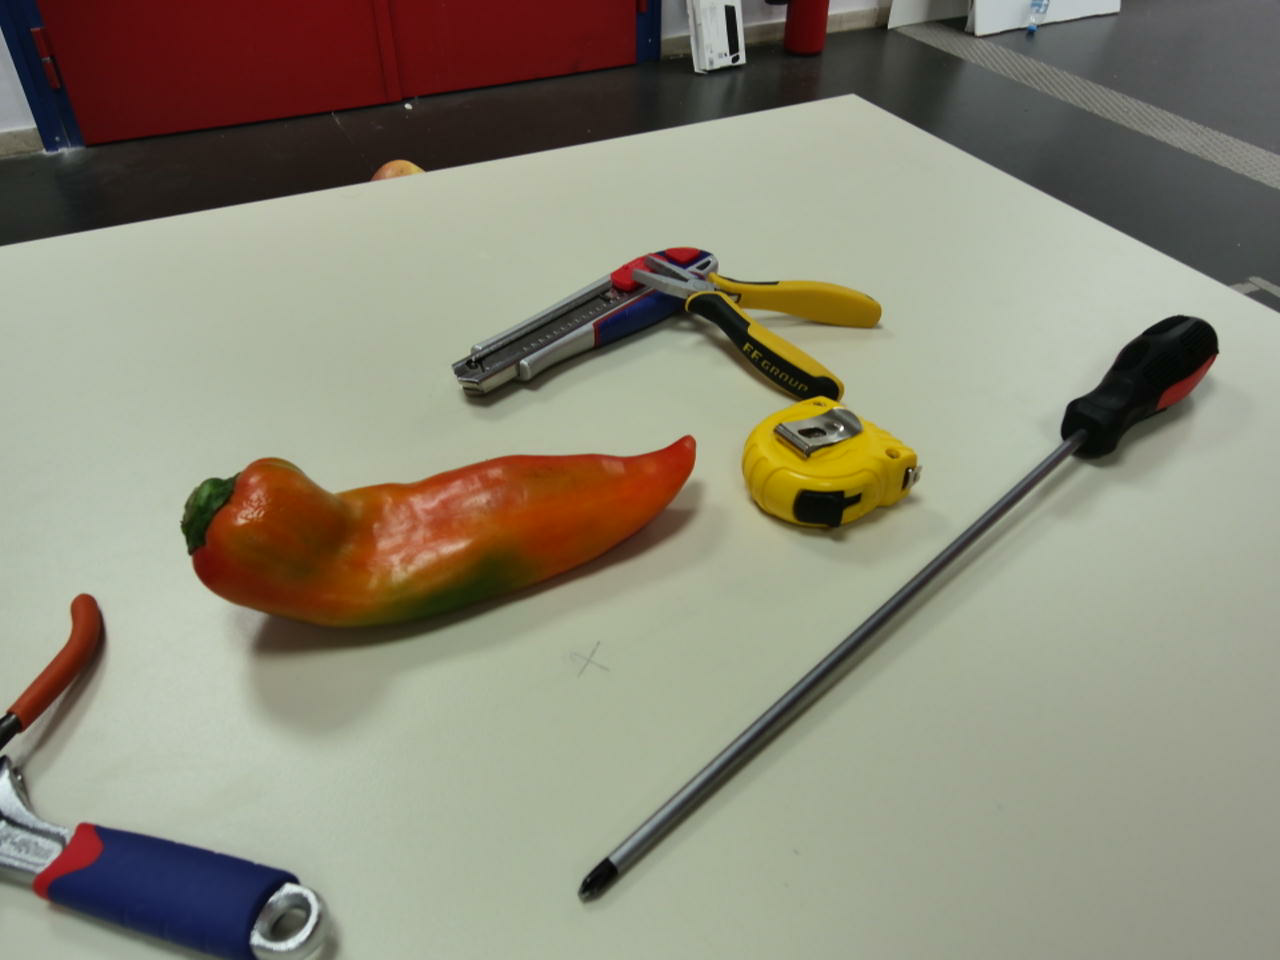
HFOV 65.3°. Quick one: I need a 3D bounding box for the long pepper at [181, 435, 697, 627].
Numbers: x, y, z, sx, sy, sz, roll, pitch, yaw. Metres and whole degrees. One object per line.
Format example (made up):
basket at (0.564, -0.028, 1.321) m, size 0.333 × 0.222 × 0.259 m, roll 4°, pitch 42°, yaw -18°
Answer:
long pepper at (-0.066, 0.007, 0.383) m, size 0.199 × 0.065 × 0.066 m, roll -14°, pitch 40°, yaw -17°
